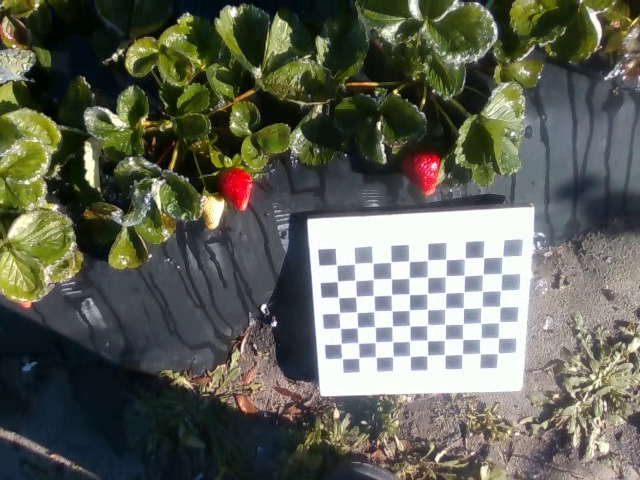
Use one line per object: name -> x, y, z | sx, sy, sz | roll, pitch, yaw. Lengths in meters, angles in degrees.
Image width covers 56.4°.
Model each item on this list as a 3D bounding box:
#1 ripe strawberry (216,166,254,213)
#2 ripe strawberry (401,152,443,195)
ripe strawberry -> -0.101, -0.059, 0.736 | 0.042, 0.061, 0.046 | -16, -22, 8
ripe strawberry -> 0.126, -0.081, 0.716 | 0.048, 0.061, 0.044 | -9, -12, 5
